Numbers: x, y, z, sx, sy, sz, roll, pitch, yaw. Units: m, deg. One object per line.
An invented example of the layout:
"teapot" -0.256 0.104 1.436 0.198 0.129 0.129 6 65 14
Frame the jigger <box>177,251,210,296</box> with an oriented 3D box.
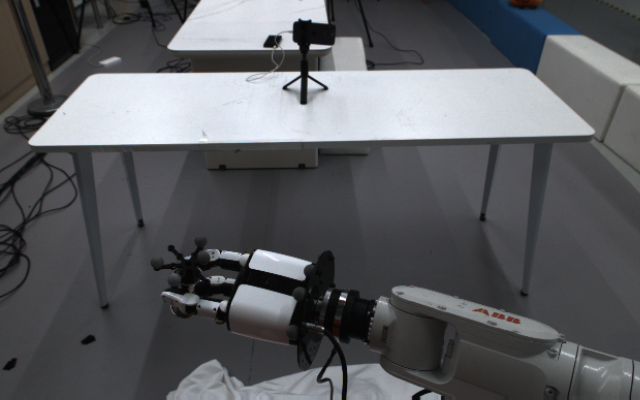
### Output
"jigger" -0.187 0.127 0.685 0.043 0.071 0.043 9 36 -7
